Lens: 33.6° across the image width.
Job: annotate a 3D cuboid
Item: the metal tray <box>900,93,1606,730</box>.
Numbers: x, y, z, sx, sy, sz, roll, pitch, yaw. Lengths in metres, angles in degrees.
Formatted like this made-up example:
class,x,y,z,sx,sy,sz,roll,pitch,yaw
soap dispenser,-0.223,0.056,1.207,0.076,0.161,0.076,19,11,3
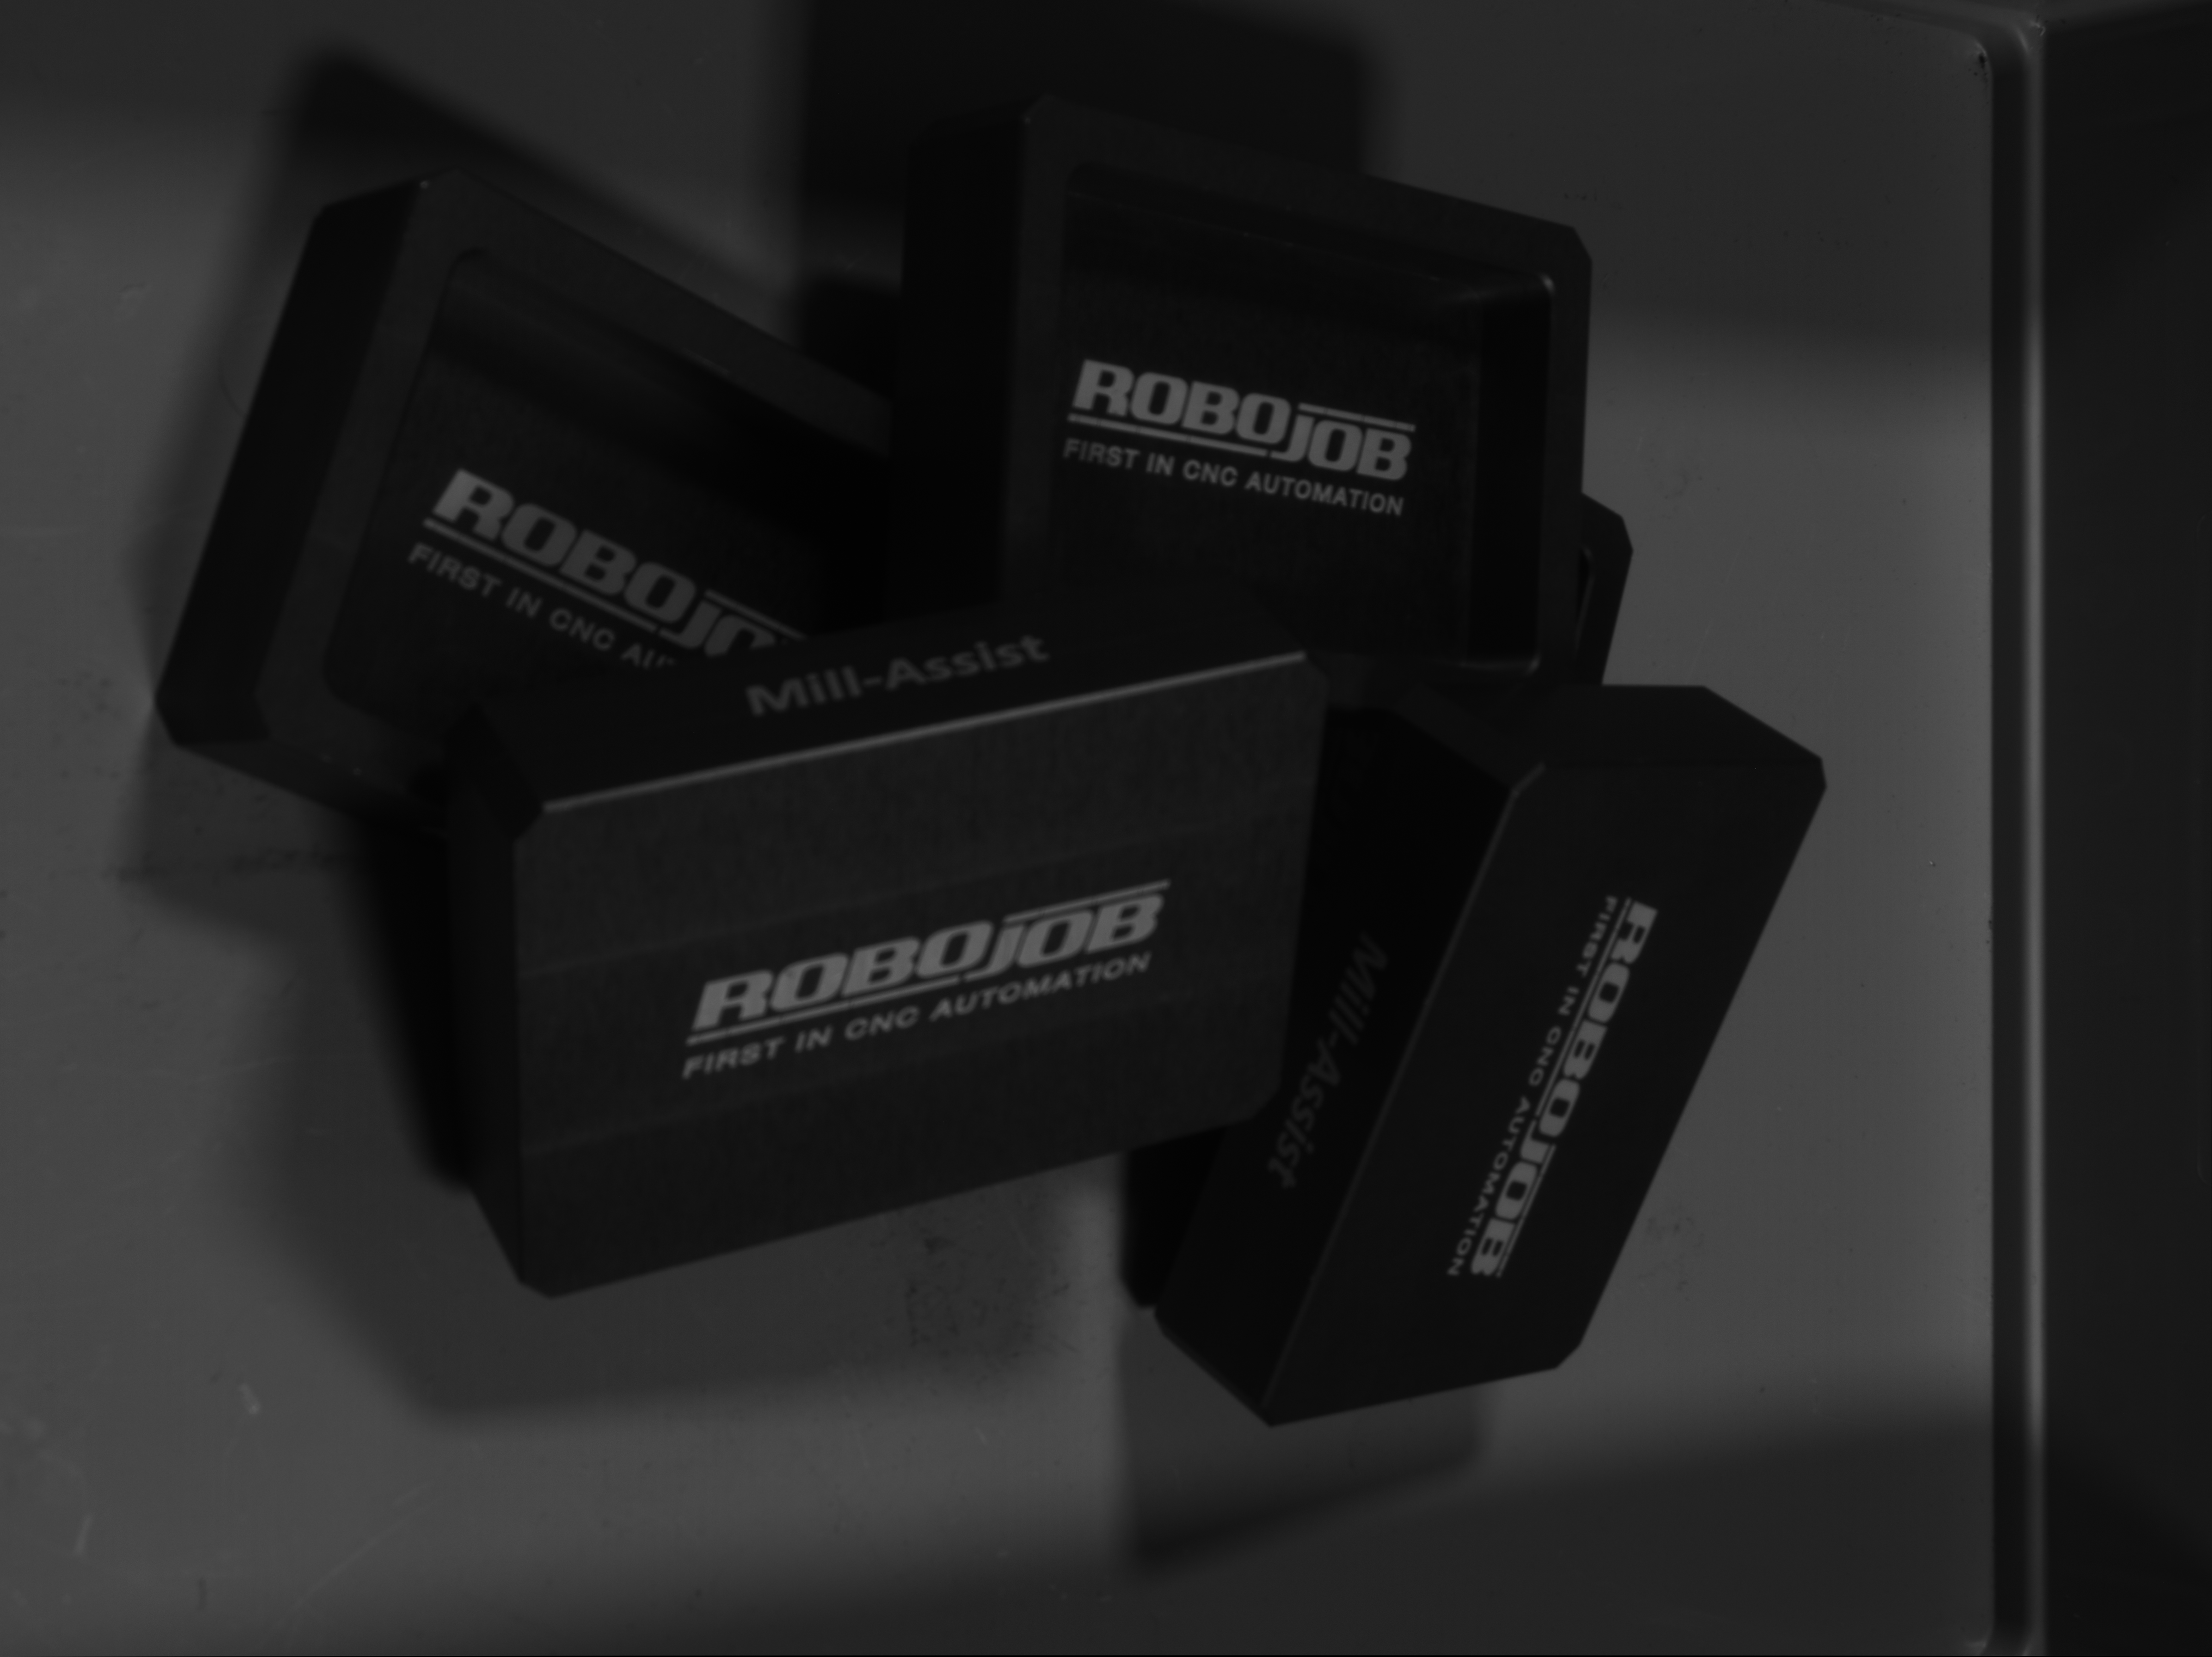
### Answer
class,x,y,z,sx,sy,sz,roll,pitch,yaw
metal tray,0.028,-0.065,0.616,0.130,0.030,0.090,5,87,-40

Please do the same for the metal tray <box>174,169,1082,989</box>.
class,x,y,z,sx,sy,sz,roll,pitch,yaw
metal tray,-0.070,-0.034,0.573,0.130,0.030,0.090,25,74,-37

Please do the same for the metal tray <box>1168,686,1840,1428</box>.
class,x,y,z,sx,sy,sz,roll,pitch,yaw
metal tray,0.071,0.039,0.650,0.090,0.030,0.130,-2,120,-45

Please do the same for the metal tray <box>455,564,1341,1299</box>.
class,x,y,z,sx,sy,sz,roll,pitch,yaw
metal tray,-0.031,0.015,0.562,0.130,0.030,0.090,-12,128,-24

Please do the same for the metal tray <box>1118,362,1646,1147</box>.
class,x,y,z,sx,sy,sz,roll,pitch,yaw
metal tray,0.046,-0.011,0.671,0.090,0.030,0.130,25,74,-37
